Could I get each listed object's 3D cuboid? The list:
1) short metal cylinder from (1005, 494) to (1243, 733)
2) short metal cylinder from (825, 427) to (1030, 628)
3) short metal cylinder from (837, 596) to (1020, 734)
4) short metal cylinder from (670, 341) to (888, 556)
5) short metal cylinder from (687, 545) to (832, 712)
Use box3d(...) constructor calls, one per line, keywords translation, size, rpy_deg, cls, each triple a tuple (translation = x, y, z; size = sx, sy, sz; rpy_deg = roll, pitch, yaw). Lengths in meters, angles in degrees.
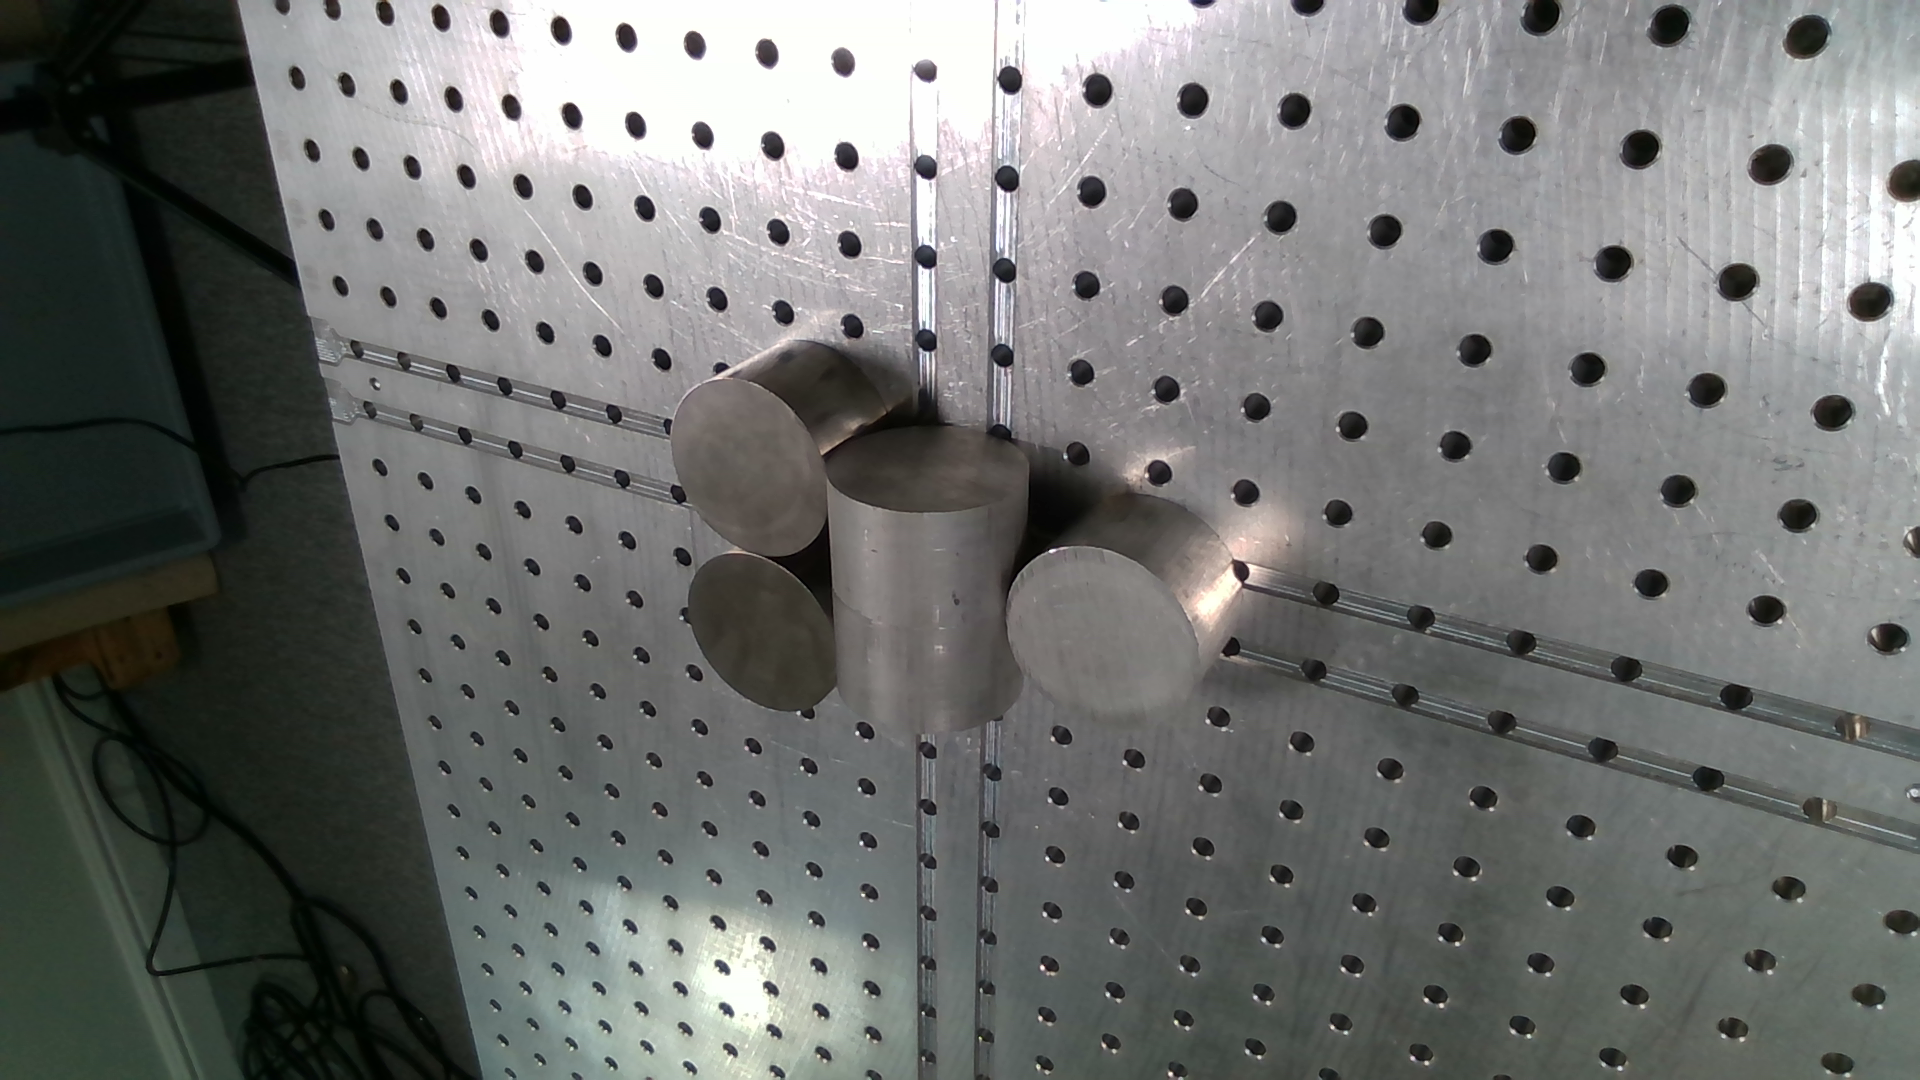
box3d(translation=(0.065, 0.028, 0.542), size=(0.080, 0.050, 0.080), rpy_deg=(14, 122, 25), cls="short metal cylinder")
box3d(translation=(-0.013, -0.007, 0.552), size=(0.080, 0.080, 0.050), rpy_deg=(15, 122, 25), cls="short metal cylinder")
box3d(translation=(-0.012, 0.037, 0.576), size=(0.080, 0.080, 0.050), rpy_deg=(15, 122, 25), cls="short metal cylinder")
box3d(translation=(-0.077, -0.040, 0.591), size=(0.080, 0.050, 0.080), rpy_deg=(14, 122, 25), cls="short metal cylinder")
box3d(translation=(-0.077, 0.031, 0.629), size=(0.080, 0.050, 0.080), rpy_deg=(14, 122, 25), cls="short metal cylinder")
